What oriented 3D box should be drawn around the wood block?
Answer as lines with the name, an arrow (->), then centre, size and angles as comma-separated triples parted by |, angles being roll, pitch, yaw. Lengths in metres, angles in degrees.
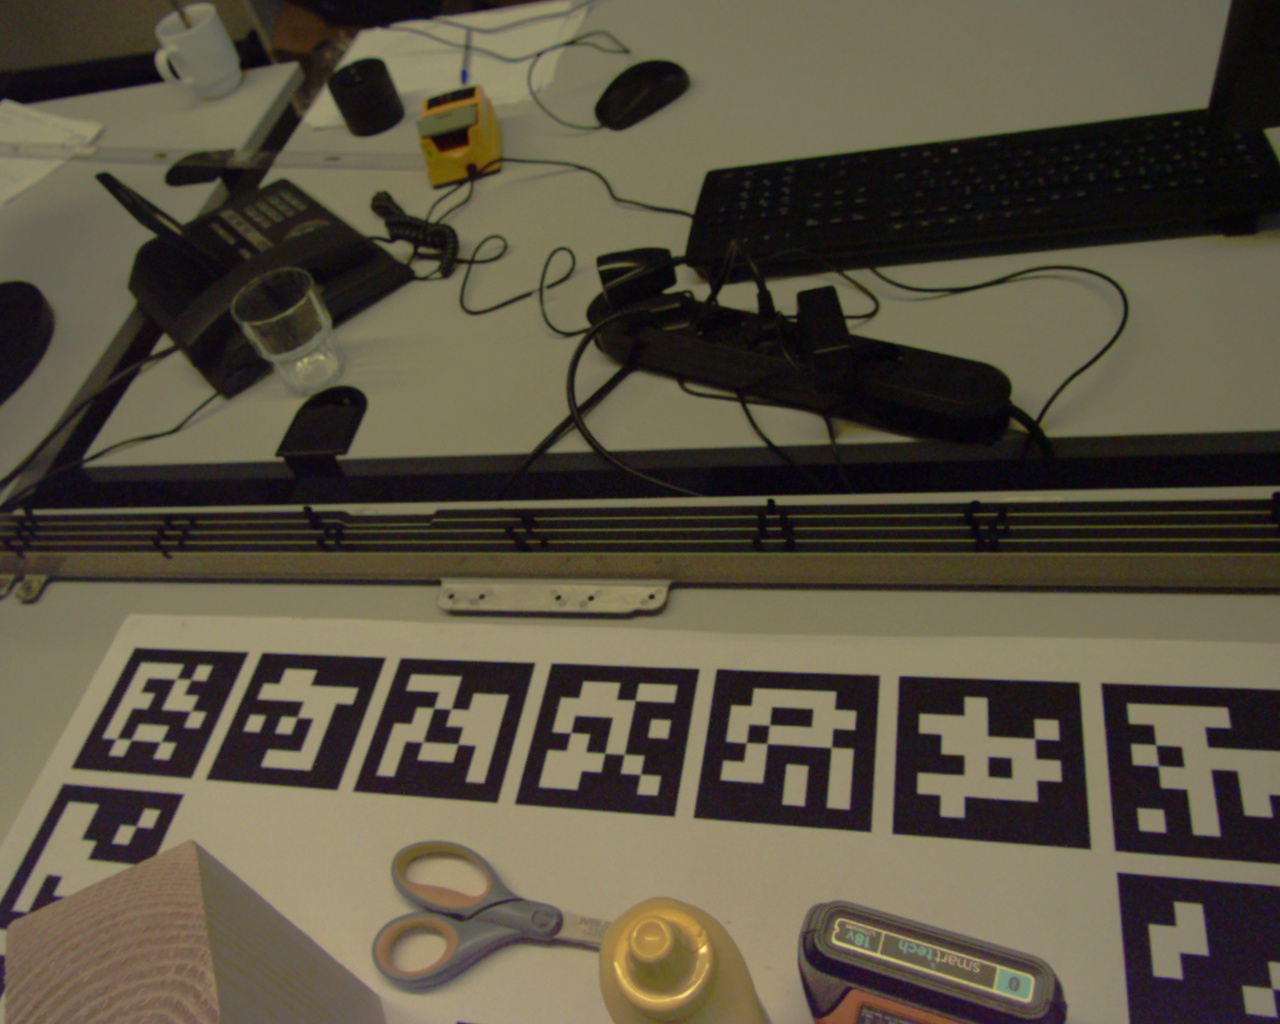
wood block -> -0.203, 0.257, 0.561 | 0.091, 0.204, 0.091 | -23, 49, -2

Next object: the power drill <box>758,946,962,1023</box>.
power drill -> 0.065, 0.305, 0.518 | 0.187, 0.057, 0.186 | 10, 62, 26

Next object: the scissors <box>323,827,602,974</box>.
scissors -> -0.090, 0.232, 0.659 | 0.204, 0.016, 0.087 | 1, 48, 19

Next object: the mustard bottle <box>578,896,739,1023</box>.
mustard bottle -> 0.015, 0.229, 0.521 | 0.058, 0.190, 0.097 | -32, 50, -9
